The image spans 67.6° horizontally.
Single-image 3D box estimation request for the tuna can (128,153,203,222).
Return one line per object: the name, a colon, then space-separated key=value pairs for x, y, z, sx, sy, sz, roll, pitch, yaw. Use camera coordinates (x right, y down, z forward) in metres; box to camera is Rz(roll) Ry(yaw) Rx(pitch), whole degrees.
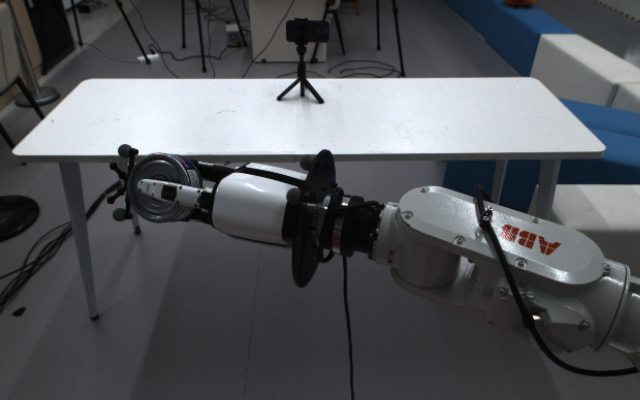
tuna can: x=-0.188 y=-0.015 z=0.592 sx=0.085 sy=0.085 sz=0.034 roll=10 pitch=3 yaw=11
